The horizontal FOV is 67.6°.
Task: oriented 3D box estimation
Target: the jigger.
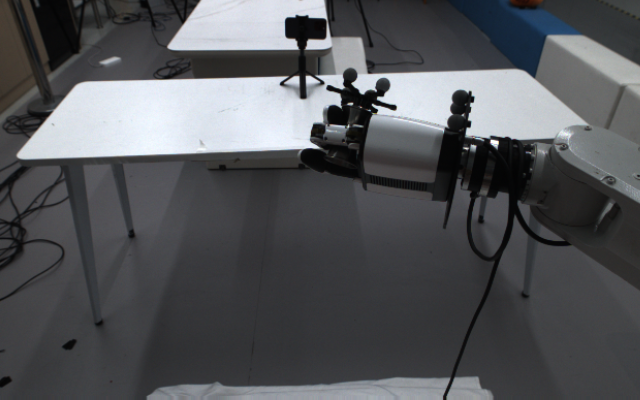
[{"bbox_3d":[0.033,-0.079,0.588,0.043,0.071,0.043,18,-6,2],"label":"jigger"}]
